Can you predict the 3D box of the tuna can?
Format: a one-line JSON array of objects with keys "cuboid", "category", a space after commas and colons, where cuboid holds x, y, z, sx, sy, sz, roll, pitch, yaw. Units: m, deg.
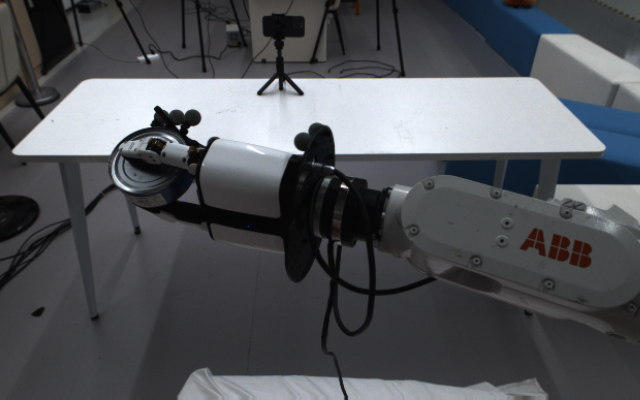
[{"cuboid": [-0.181, -0.035, 0.529, 0.085, 0.034, 0.085, -1, 59, 3], "category": "tuna can"}]
